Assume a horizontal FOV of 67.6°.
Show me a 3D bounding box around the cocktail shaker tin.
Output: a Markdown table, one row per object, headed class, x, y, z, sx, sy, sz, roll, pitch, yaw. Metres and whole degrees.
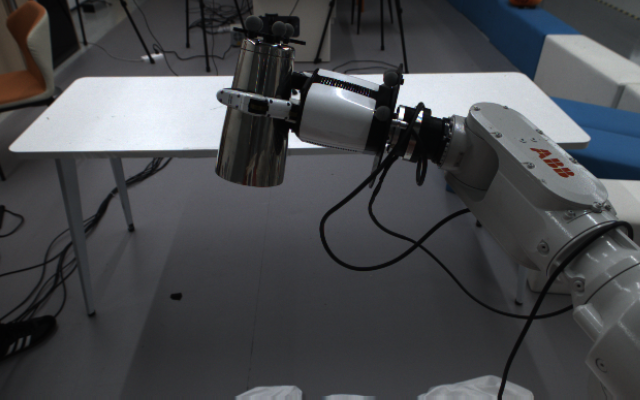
| class | x | y | z | sx | sy | sz | roll | pitch | yaw |
| --- | --- | --- | --- | --- | --- | --- | --- | --- | --- |
| cocktail shaker tin | -0.077 | -0.112 | 0.617 | 0.093 | 0.170 | 0.093 | 10 | 19 | -4 |
